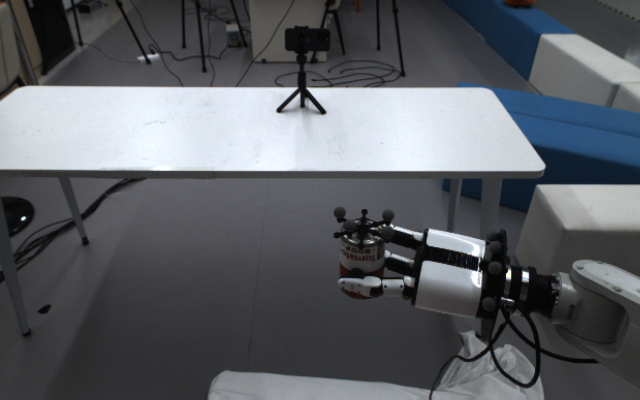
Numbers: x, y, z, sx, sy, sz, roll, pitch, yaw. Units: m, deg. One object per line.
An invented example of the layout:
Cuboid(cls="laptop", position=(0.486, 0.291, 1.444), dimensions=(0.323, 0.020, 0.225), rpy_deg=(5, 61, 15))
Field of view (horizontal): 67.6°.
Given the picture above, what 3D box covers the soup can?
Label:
Cuboid(cls="soup can", position=(0.064, 0.084, 0.709), dimensions=(0.067, 0.101, 0.067), rpy_deg=(-2, 34, 1))
